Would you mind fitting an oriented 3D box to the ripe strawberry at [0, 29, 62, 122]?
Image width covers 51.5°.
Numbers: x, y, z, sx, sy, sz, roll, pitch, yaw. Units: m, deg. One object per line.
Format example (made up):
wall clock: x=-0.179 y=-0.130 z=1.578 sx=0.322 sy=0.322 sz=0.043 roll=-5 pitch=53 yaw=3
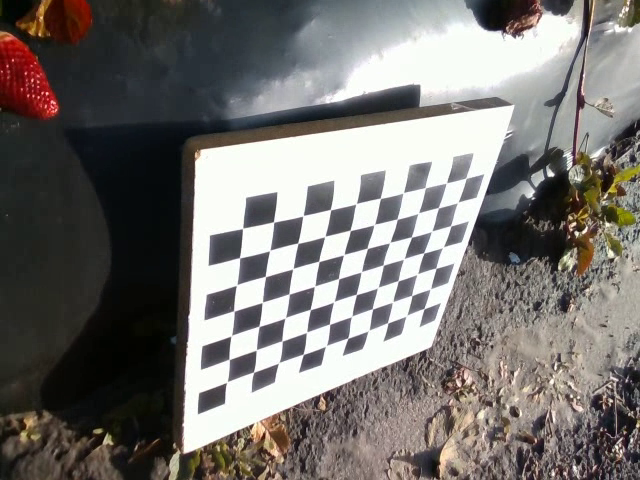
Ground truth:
ripe strawberry: x=-0.149 y=-0.075 z=0.317 sx=0.056 sy=0.041 sz=0.041 roll=41 pitch=6 yaw=-6
